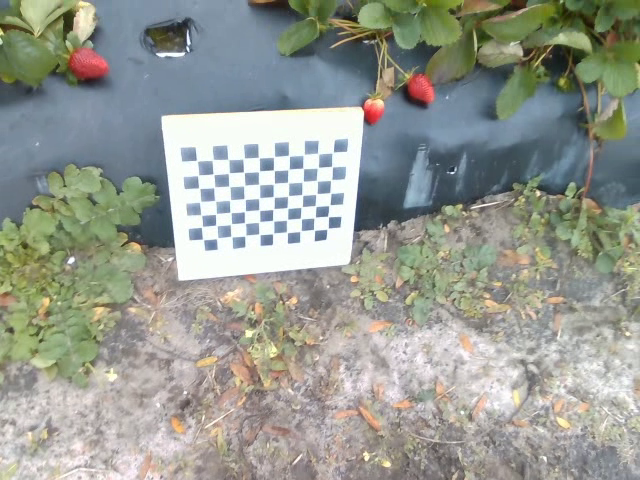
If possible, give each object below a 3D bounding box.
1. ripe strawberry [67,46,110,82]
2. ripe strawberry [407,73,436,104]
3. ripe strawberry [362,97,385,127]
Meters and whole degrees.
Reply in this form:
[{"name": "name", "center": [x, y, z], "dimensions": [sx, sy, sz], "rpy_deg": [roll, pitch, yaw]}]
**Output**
[{"name": "ripe strawberry", "center": [-0.322, -0.242, 1.015], "dimensions": [0.064, 0.046, 0.049], "rpy_deg": [21, 40, 9]}, {"name": "ripe strawberry", "center": [0.156, -0.227, 1.110], "dimensions": [0.044, 0.059, 0.042], "rpy_deg": [-37, 14, 25]}, {"name": "ripe strawberry", "center": [0.084, -0.192, 1.099], "dimensions": [0.036, 0.041, 0.028], "rpy_deg": [0, 17, -4]}]
